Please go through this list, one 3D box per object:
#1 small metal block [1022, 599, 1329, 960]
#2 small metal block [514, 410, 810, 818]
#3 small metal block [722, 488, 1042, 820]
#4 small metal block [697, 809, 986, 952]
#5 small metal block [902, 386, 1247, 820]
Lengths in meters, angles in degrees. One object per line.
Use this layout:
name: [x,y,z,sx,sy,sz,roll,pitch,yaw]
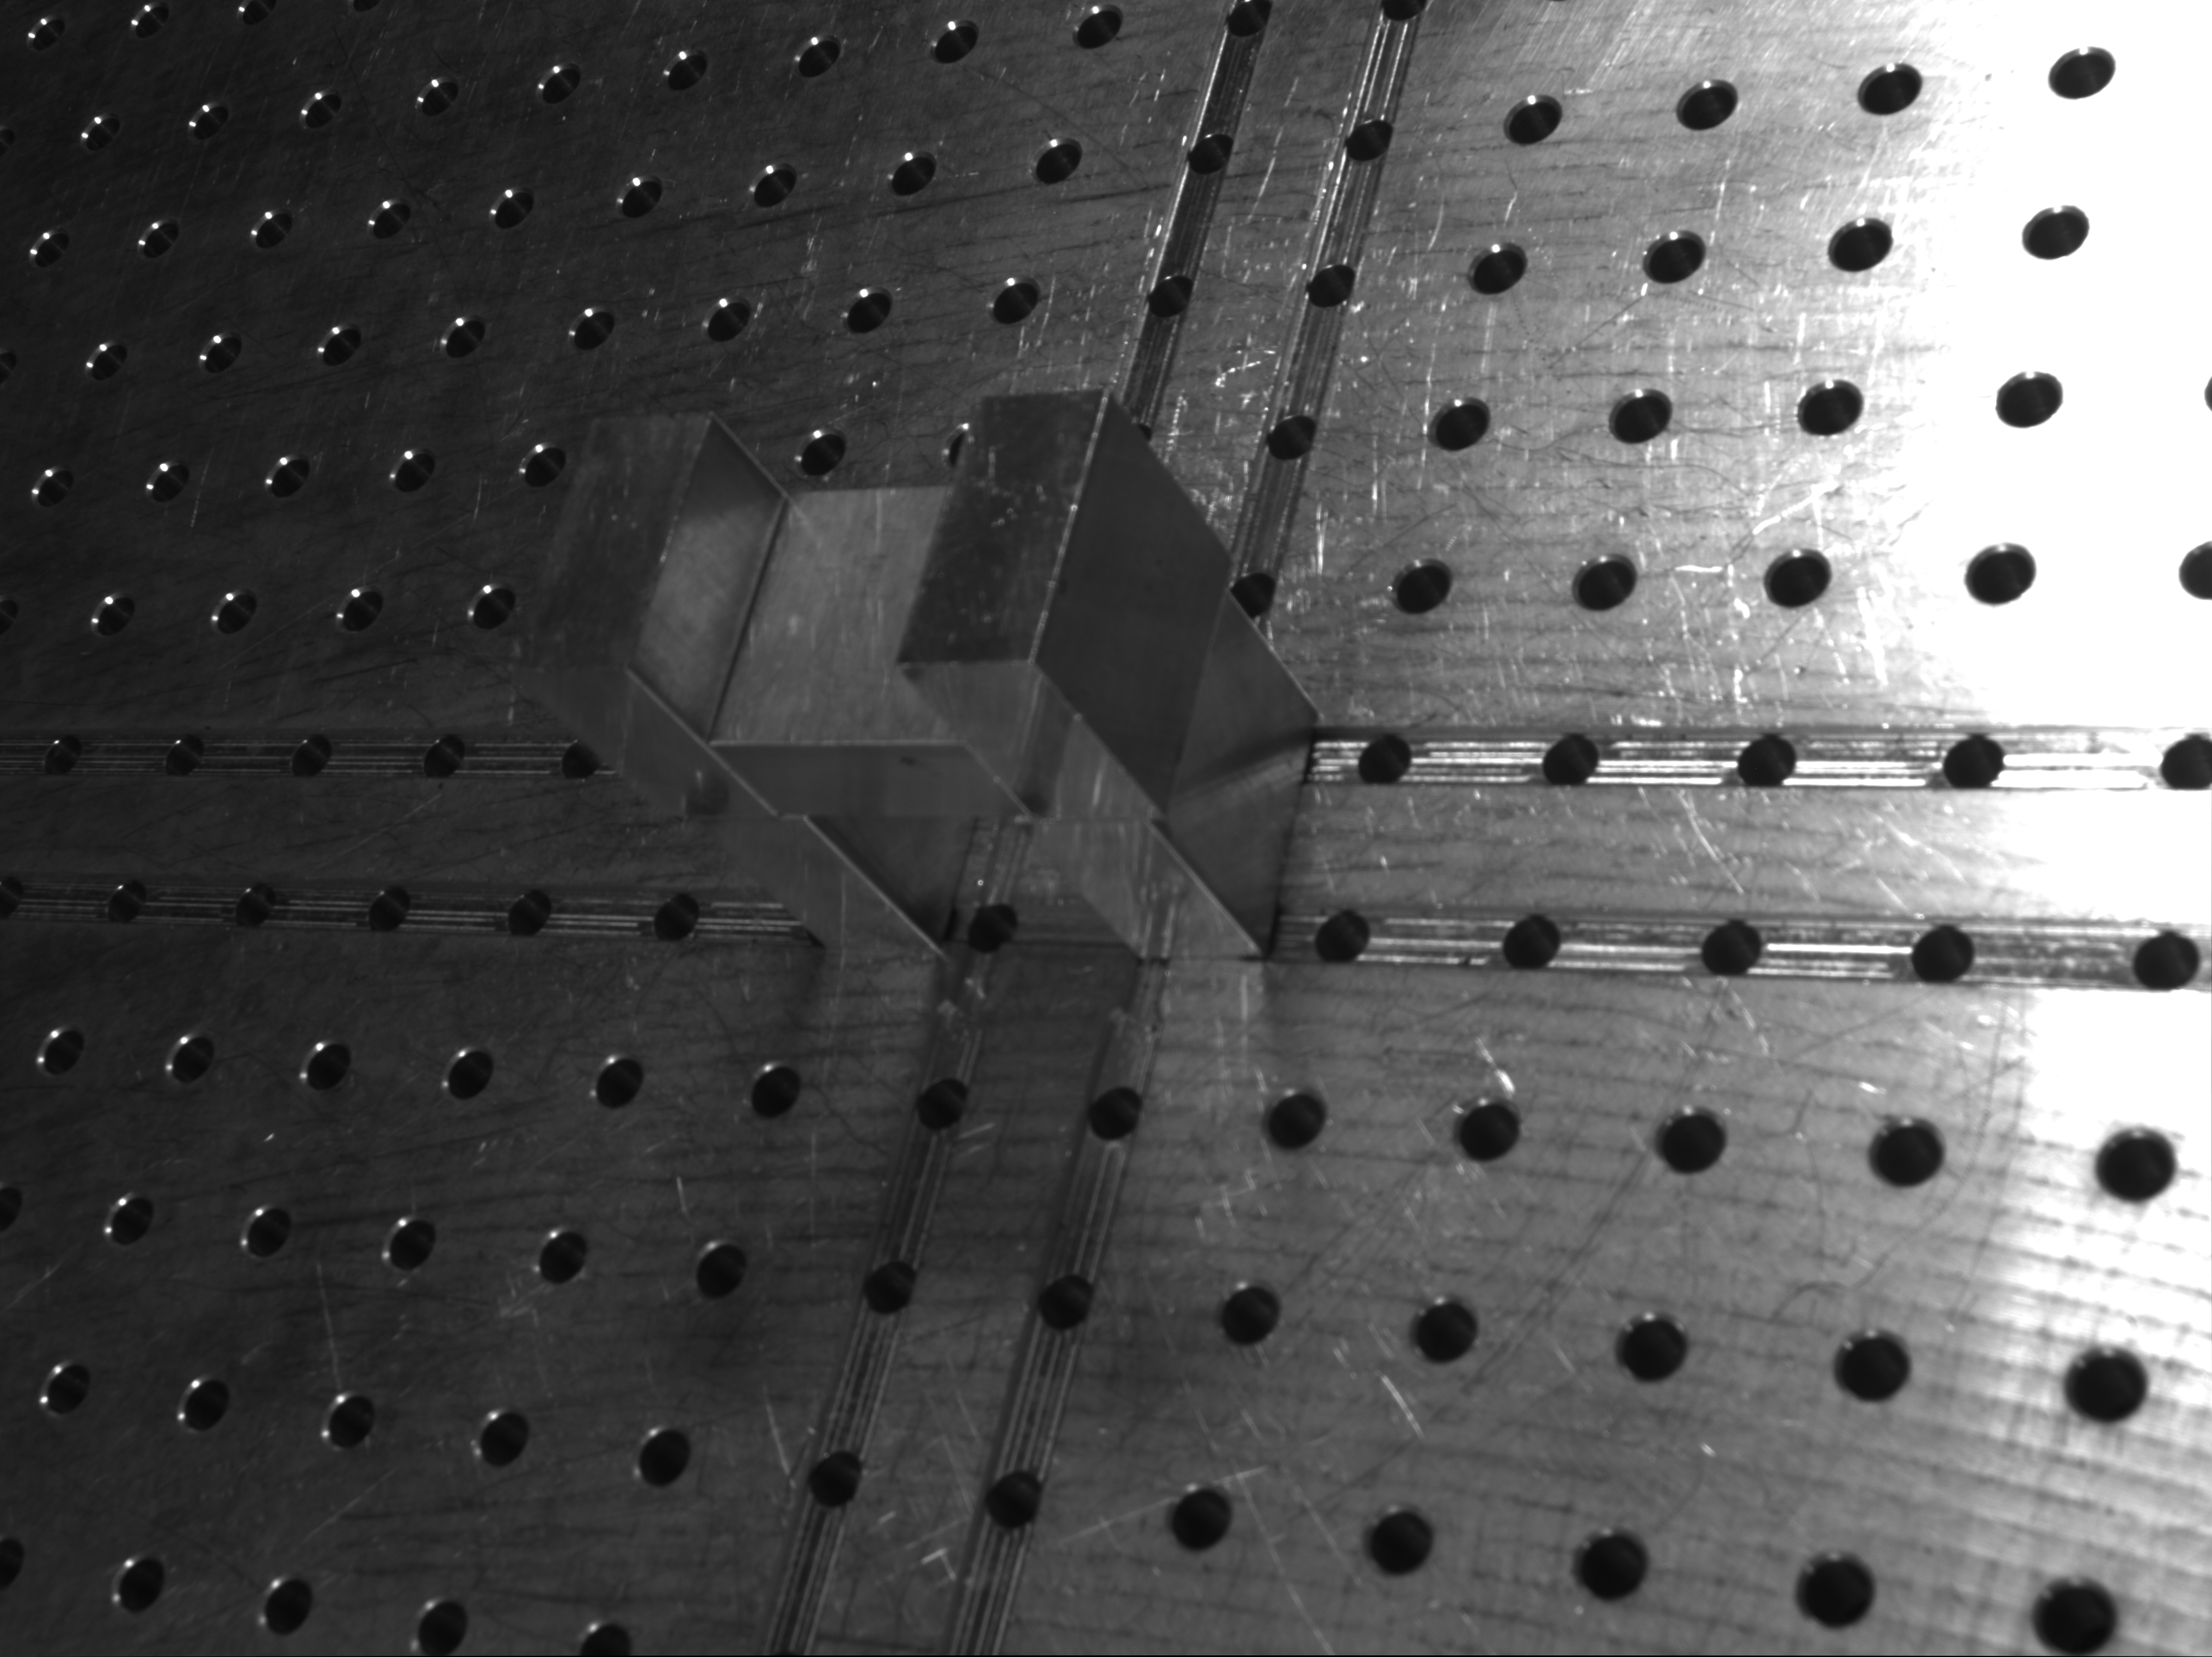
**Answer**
small metal block: [0.013,-0.011,0.631,0.025,0.050,0.050,-1,61,28]
small metal block: [-0.070,-0.036,0.625,0.025,0.050,0.050,0,61,29]
small metal block: [-0.031,-0.030,0.618,0.050,0.025,0.050,1,62,29]
small metal block: [-0.044,-0.012,0.661,0.025,0.050,0.050,1,62,29]
small metal block: [-0.004,-0.035,0.589,0.025,0.050,0.050,0,61,29]
